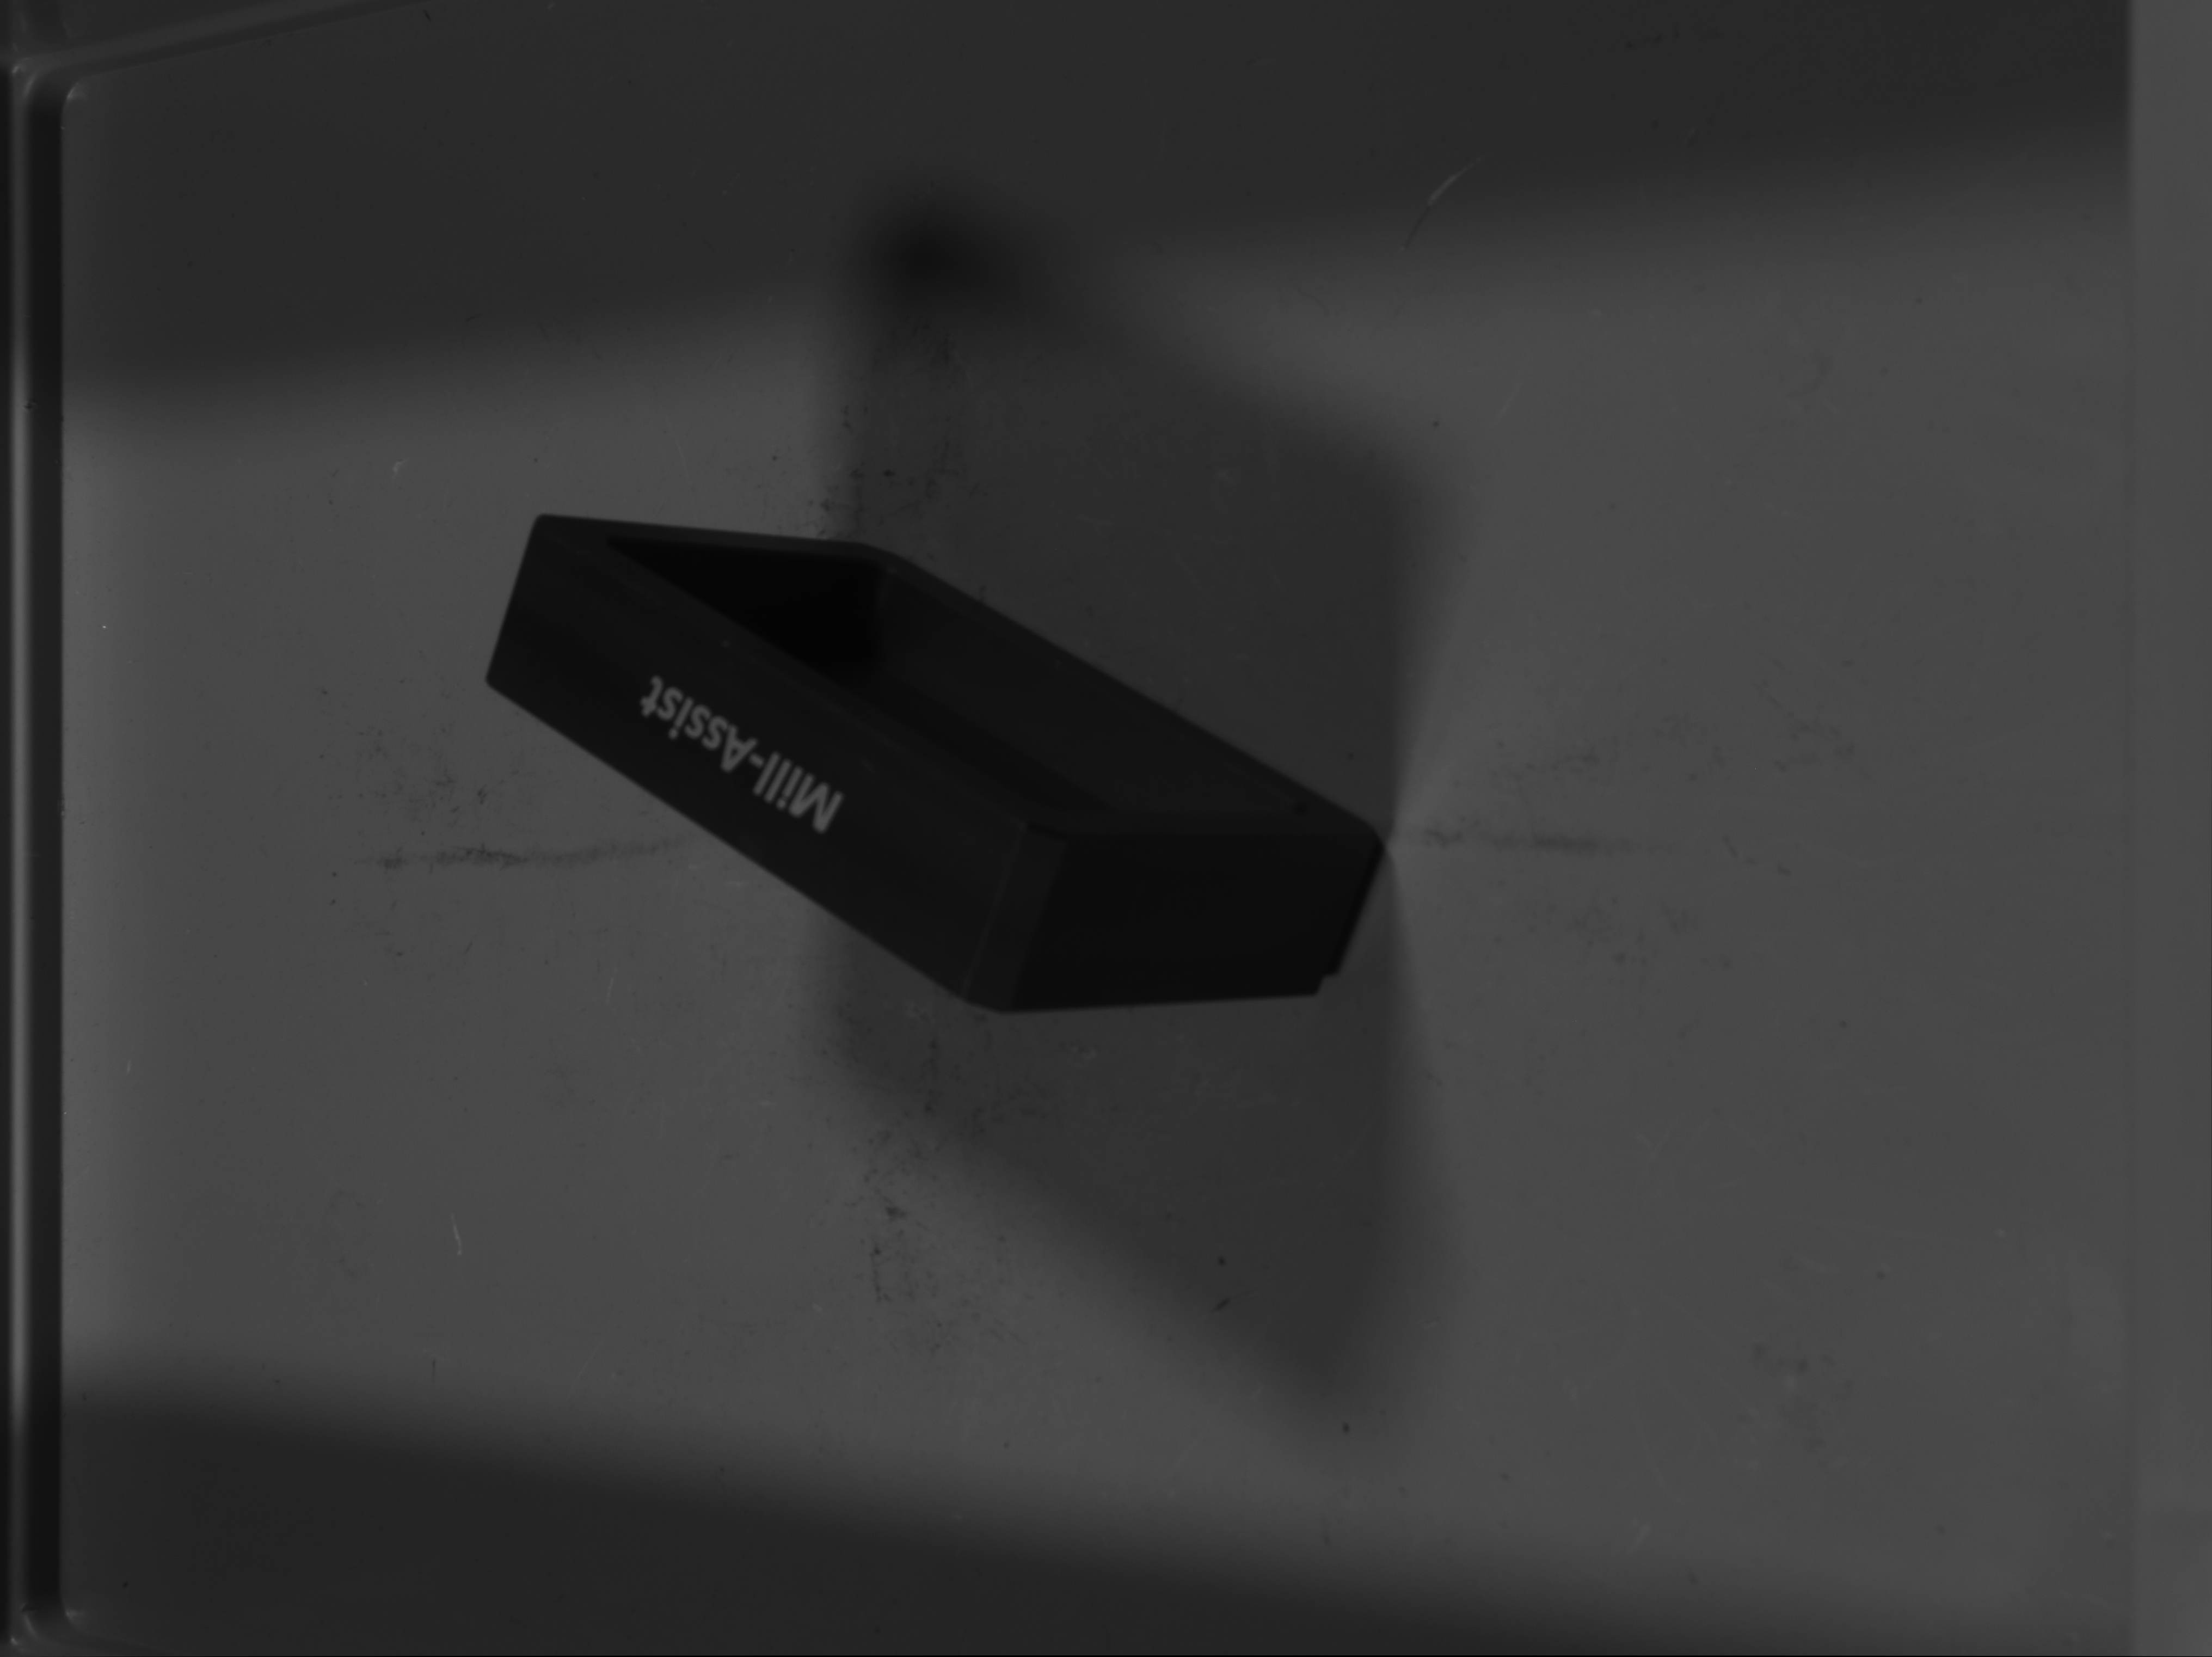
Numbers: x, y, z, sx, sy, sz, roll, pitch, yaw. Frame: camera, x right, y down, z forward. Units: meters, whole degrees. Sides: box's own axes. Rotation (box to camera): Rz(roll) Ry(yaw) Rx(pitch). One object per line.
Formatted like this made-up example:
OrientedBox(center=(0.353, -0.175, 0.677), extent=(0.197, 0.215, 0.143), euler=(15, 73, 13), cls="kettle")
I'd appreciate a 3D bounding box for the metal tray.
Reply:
OrientedBox(center=(-0.035, -0.012, 0.619), extent=(0.130, 0.090, 0.030), euler=(31, 109, 35), cls="metal tray")
